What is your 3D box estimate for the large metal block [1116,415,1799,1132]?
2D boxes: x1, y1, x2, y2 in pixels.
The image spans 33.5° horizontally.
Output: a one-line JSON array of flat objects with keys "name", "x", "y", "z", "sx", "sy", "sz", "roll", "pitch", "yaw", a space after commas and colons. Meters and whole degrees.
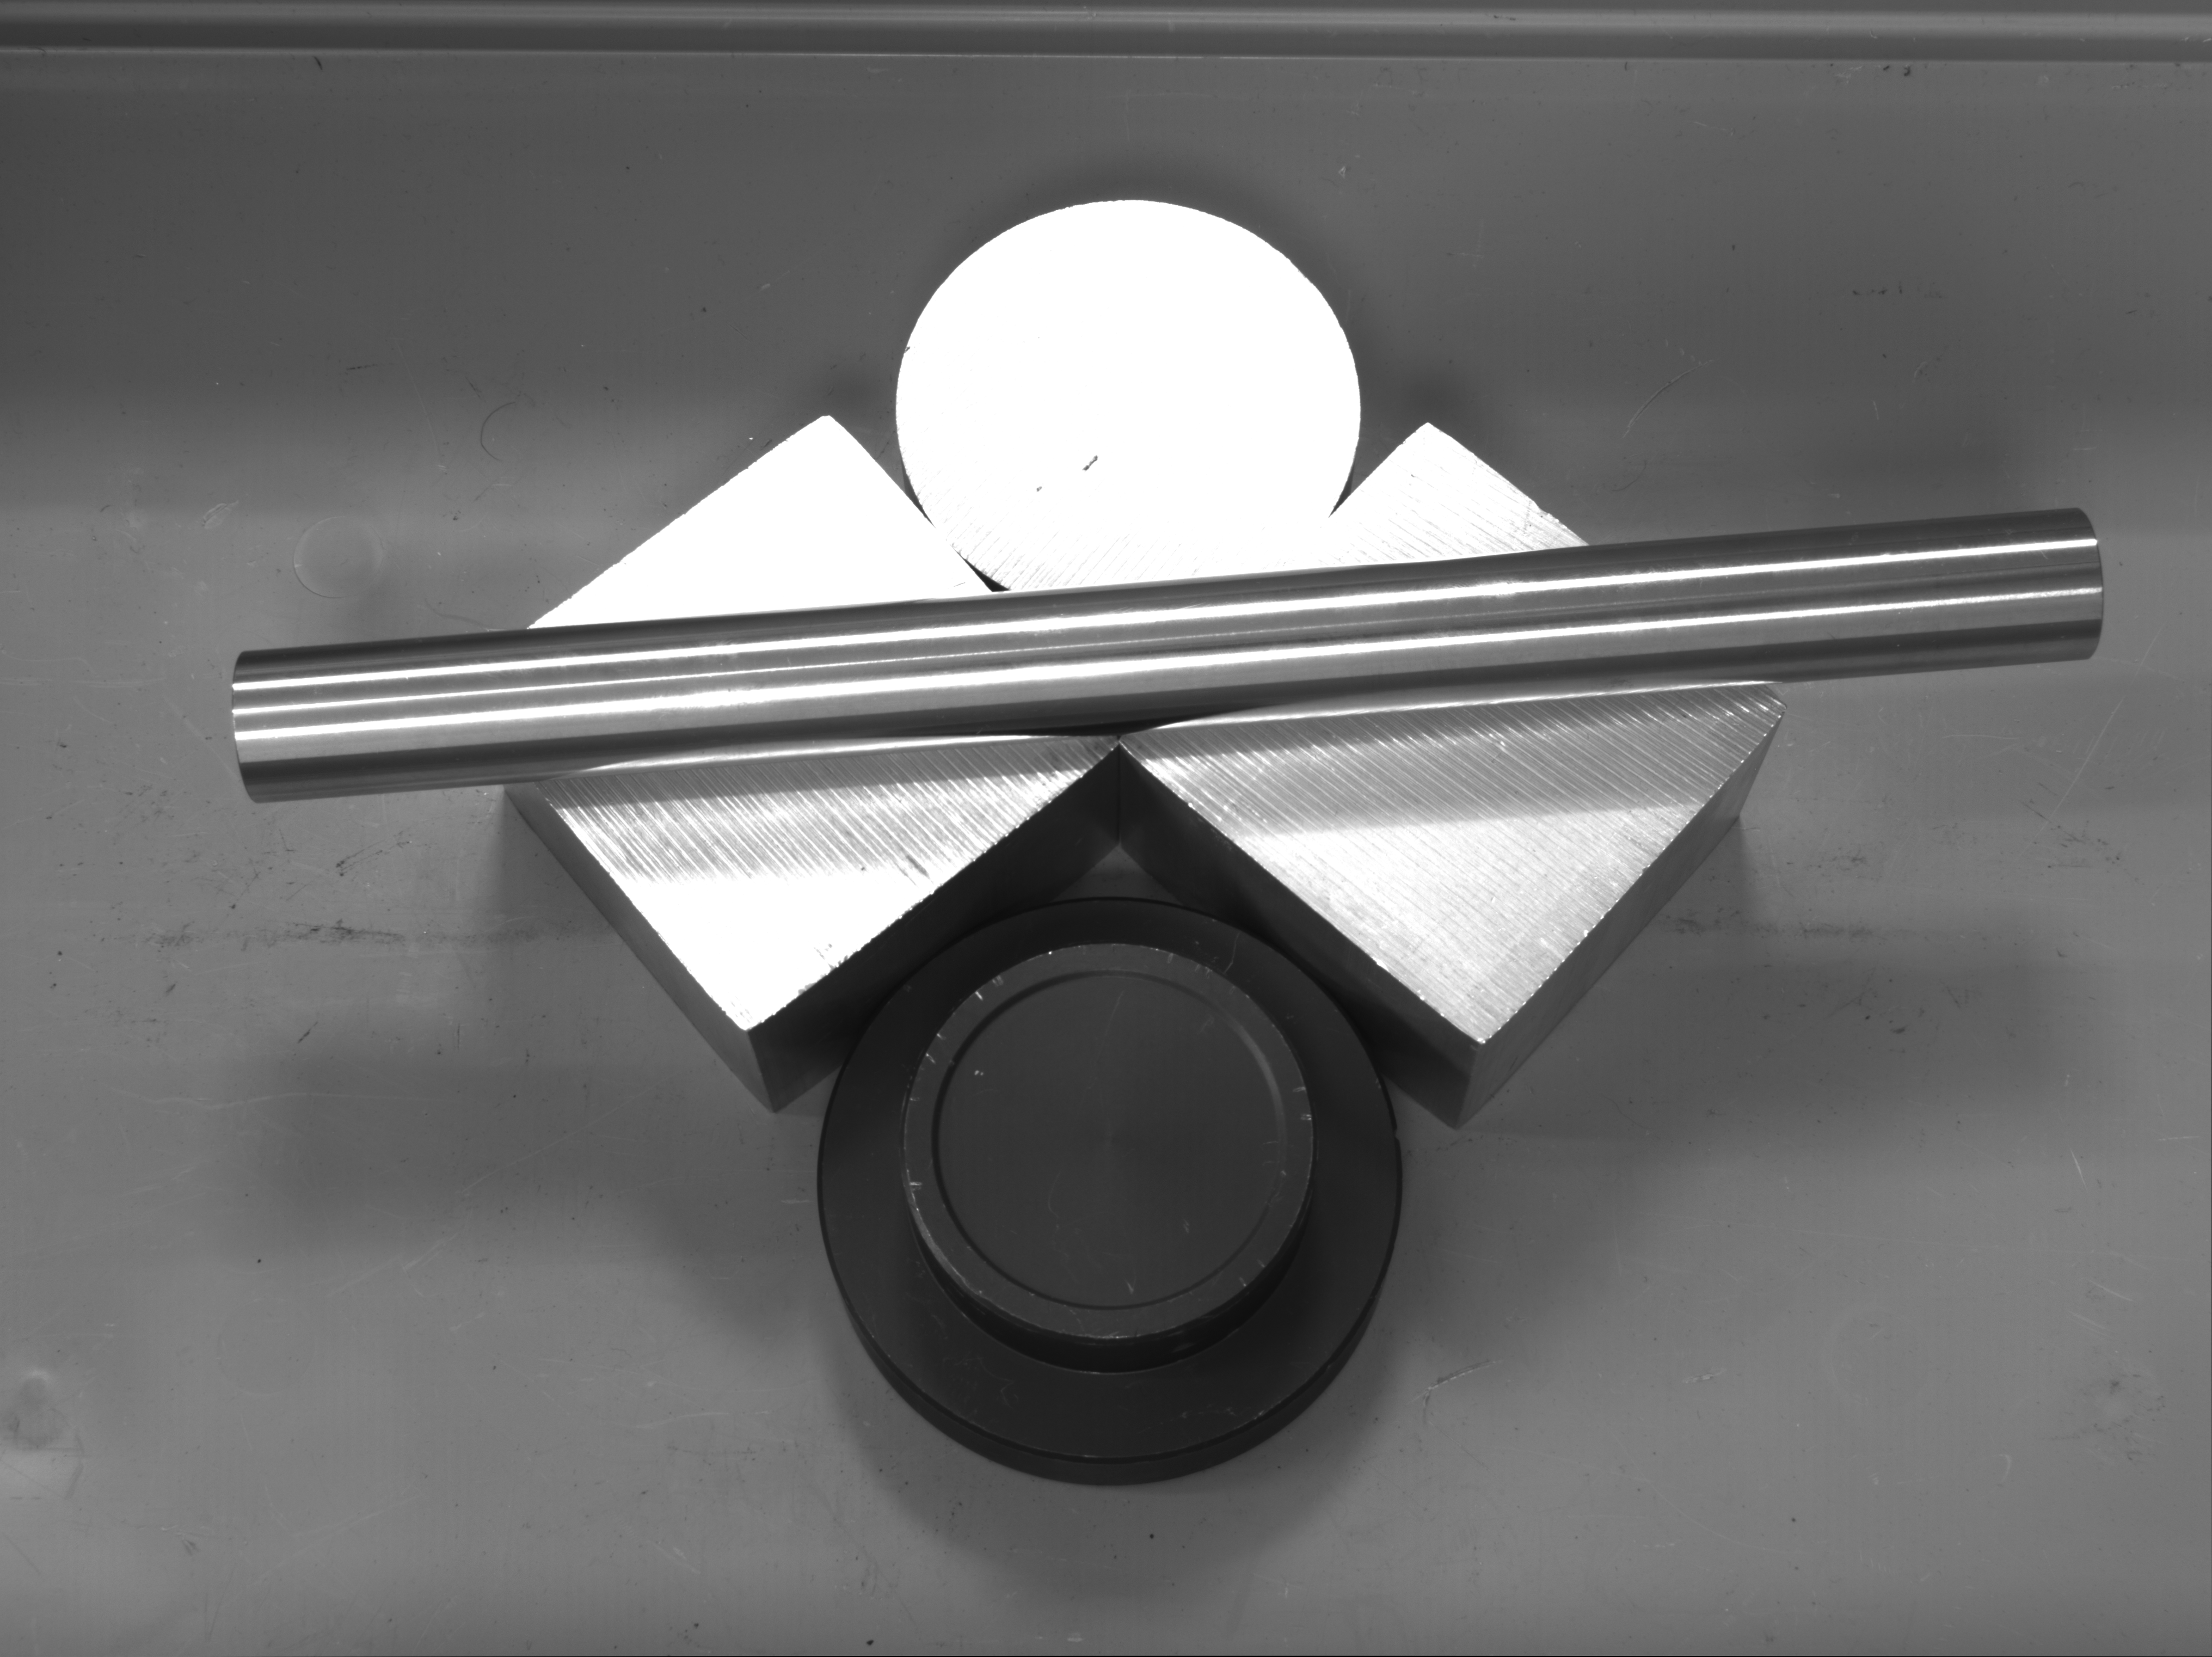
[{"name": "large metal block", "x": 0.059, "y": -0.009, "z": 0.631, "sx": 0.080, "sy": 0.050, "sz": 0.080, "roll": 40, "pitch": 76, "yaw": 14}]

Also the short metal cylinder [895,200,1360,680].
[{"name": "short metal cylinder", "x": 0.004, "y": -0.064, "z": 0.654, "sx": 0.080, "sy": 0.050, "sz": 0.080, "roll": 0, "pitch": 70, "yaw": 0}]

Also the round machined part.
[{"name": "round machined part", "x": 0.001, "y": 0.057, "z": 0.614, "sx": 0.098, "sy": 0.042, "sz": 0.098, "roll": 0, "pitch": 70, "yaw": 0}]

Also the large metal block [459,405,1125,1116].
[{"name": "large metal block", "x": -0.053, "y": -0.011, "z": 0.635, "sx": 0.080, "sy": 0.050, "sz": 0.080, "roll": -38, "pitch": 76, "yaw": -13}]

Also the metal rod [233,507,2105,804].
[{"name": "metal rod", "x": 0.011, "y": -0.028, "z": 0.599, "sx": 0.300, "sy": 0.025, "sz": 0.025, "roll": -5, "pitch": 70, "yaw": -1}]
